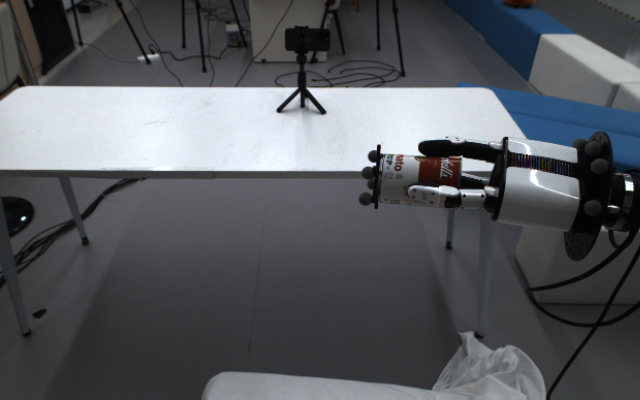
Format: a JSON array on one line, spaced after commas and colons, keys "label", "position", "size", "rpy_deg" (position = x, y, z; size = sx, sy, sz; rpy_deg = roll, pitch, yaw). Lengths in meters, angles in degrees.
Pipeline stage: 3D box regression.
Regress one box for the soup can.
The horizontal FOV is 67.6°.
[{"label": "soup can", "position": [0.134, -0.026, 0.637], "size": [0.101, 0.067, 0.067], "rpy_deg": [5, 34, 13]}]
